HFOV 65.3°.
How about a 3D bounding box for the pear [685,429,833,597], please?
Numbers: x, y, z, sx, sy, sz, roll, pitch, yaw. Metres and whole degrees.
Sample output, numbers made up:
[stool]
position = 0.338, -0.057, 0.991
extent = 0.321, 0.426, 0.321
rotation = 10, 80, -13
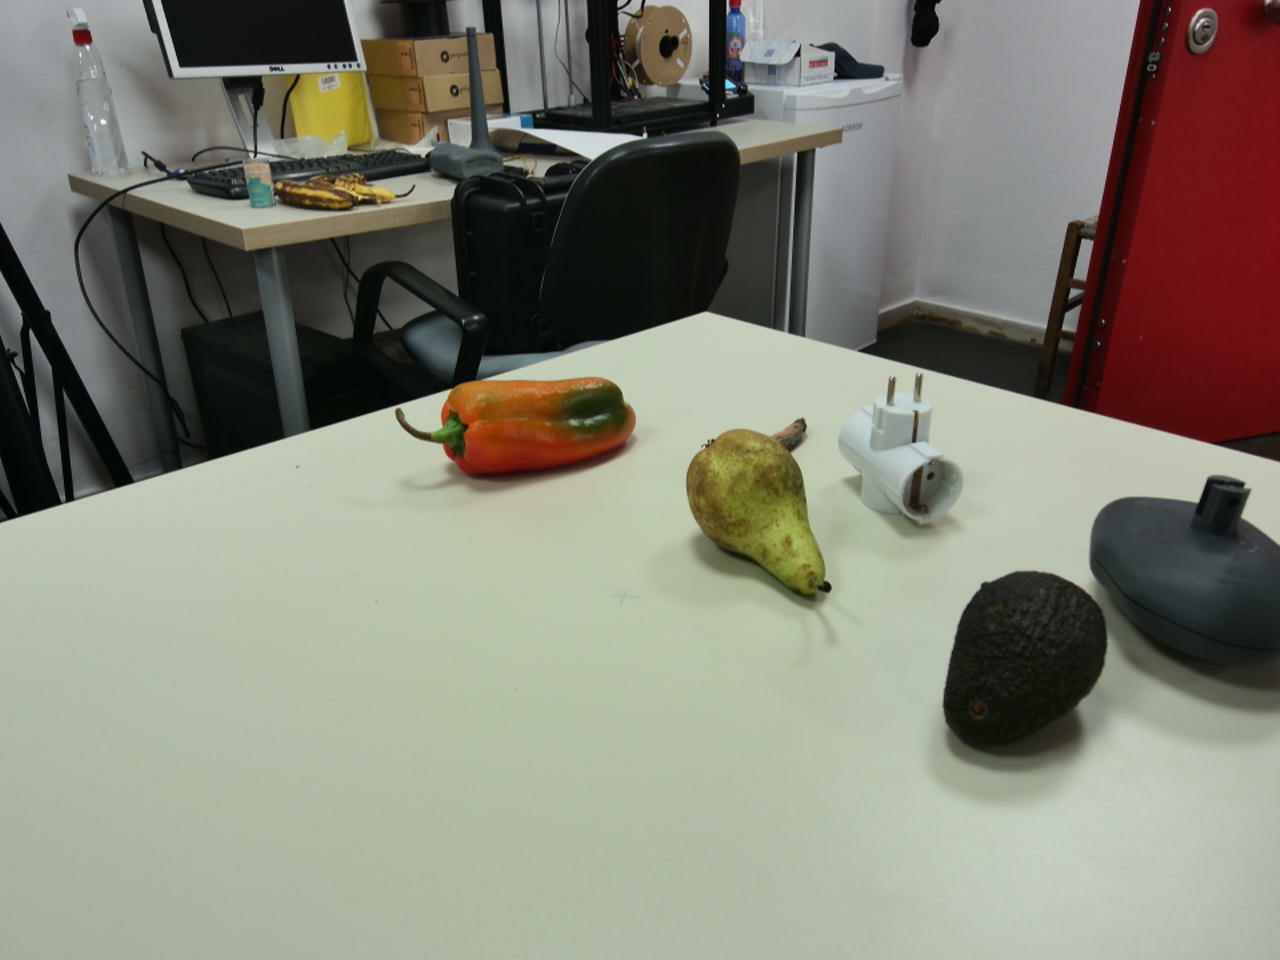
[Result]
[pear]
position = 0.085, 0.018, 0.590
extent = 0.071, 0.075, 0.144
rotation = -17, 29, -32
